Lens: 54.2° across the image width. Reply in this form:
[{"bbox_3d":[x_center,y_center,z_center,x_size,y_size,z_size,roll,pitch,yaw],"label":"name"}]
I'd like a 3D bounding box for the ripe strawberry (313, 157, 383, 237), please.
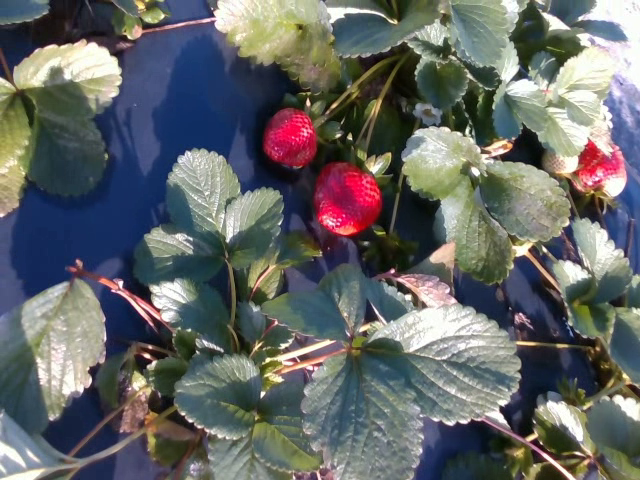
[{"bbox_3d":[0.014,-0.022,0.388,0.052,0.046,0.058,23,44,14],"label":"ripe strawberry"}]

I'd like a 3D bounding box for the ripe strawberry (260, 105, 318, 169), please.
[{"bbox_3d":[-0.023,-0.063,0.389,0.043,0.037,0.052,14,44,15],"label":"ripe strawberry"}]
